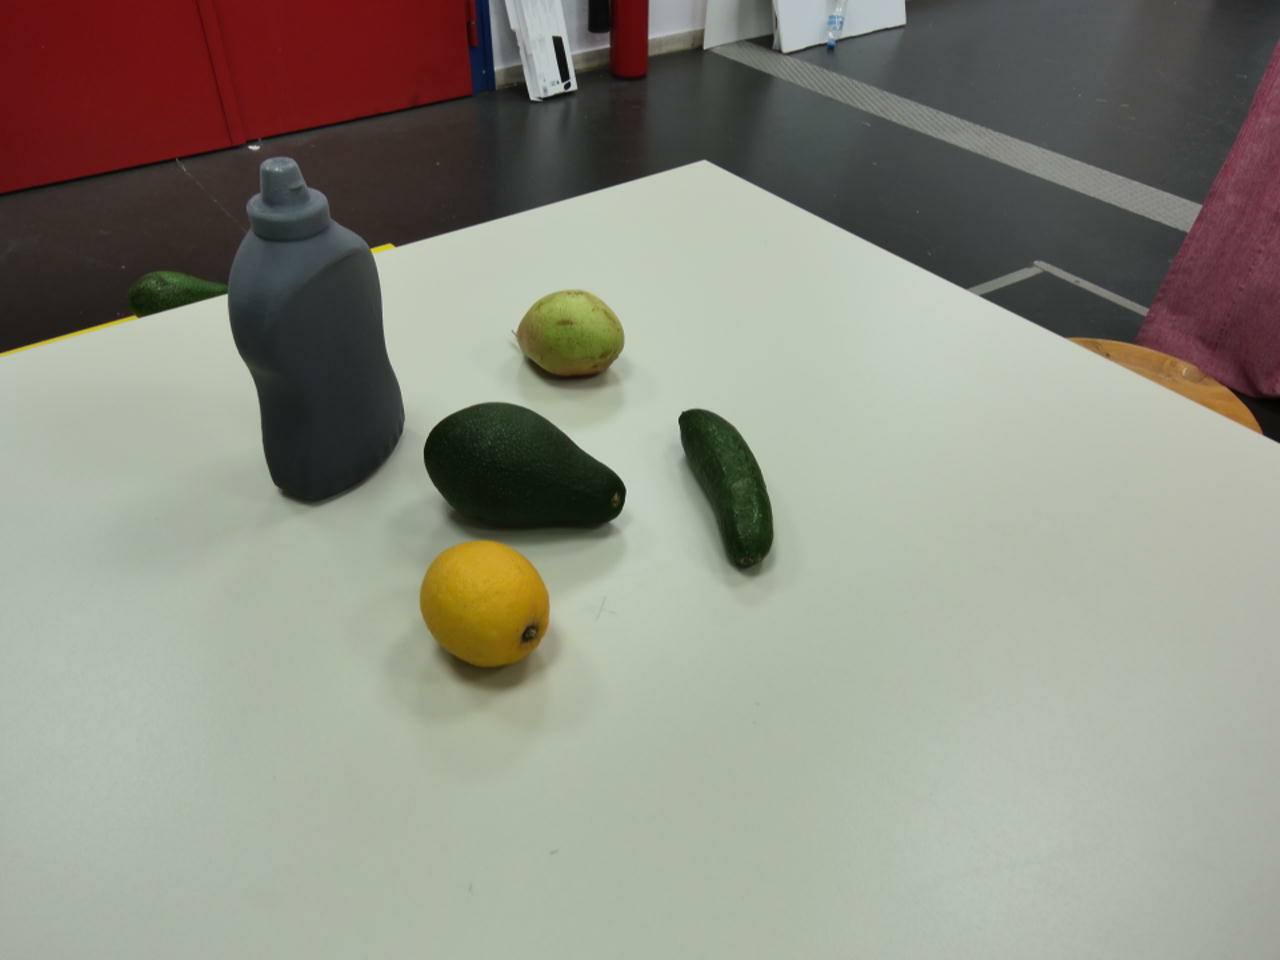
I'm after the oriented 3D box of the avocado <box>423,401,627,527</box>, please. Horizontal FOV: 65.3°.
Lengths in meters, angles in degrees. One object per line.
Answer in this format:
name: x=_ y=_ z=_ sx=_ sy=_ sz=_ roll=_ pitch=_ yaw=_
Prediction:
avocado: x=-0.067 y=-0.005 z=0.566 sx=0.110 sy=0.071 sz=0.072 roll=21 pitch=42 yaw=23
